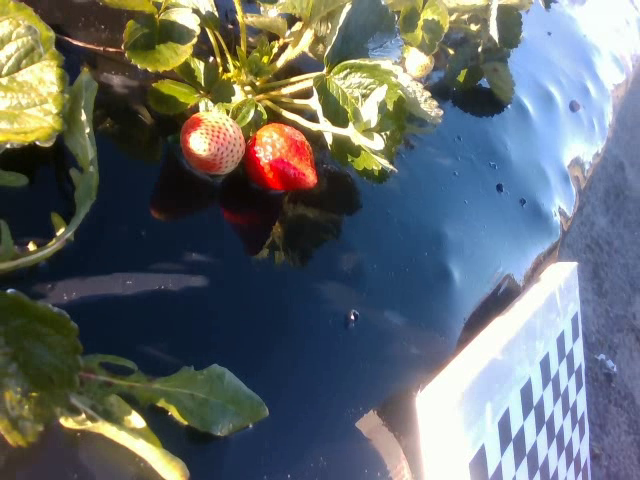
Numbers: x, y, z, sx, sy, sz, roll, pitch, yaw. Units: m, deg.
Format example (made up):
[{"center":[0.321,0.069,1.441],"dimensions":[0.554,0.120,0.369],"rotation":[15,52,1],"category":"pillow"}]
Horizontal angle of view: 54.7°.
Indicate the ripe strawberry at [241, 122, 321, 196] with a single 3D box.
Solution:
[{"center":[-0.012,-0.039,0.303],"dimensions":[0.040,0.038,0.055],"rotation":[-30,28,-21],"category":"ripe strawberry"}]
